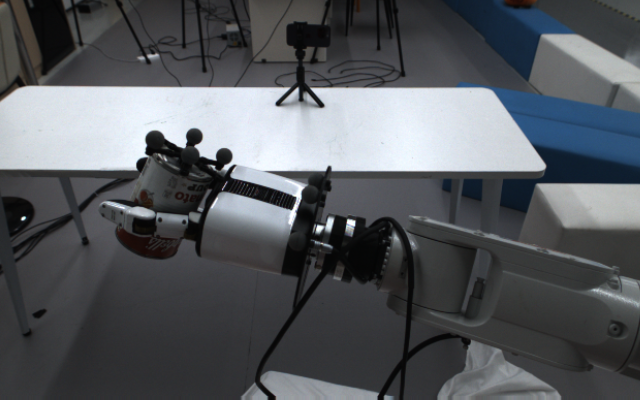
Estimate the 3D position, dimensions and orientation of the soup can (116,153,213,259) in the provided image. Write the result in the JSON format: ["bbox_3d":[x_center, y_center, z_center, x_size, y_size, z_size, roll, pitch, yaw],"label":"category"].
[{"bbox_3d":[-0.160,0.003,0.503,0.067,0.101,0.067,28,18,-10],"label":"soup can"}]
